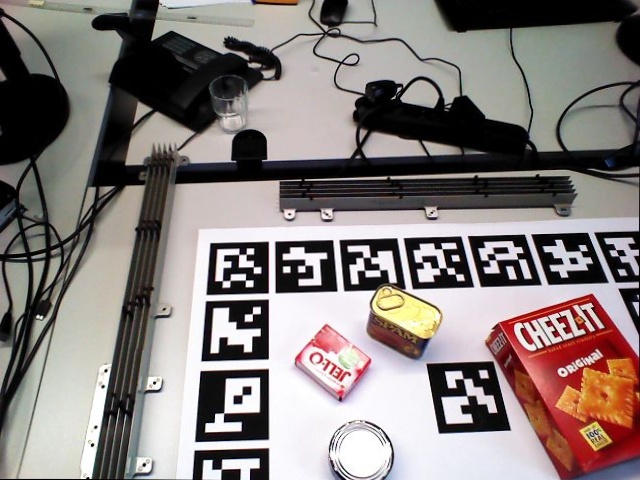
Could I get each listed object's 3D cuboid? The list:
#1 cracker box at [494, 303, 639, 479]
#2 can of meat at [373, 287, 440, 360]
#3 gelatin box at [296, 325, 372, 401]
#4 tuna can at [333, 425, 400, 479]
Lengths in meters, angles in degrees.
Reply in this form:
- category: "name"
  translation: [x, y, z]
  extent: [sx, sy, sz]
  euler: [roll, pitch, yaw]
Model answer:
- category: "cracker box"
  translation: [0.378, 0.209, 0.727]
  extent: [0.164, 0.072, 0.213]
  euler: [-14, 54, -12]
- category: "can of meat"
  translation: [0.131, 0.128, 0.780]
  extent: [0.102, 0.084, 0.057]
  euler: [23, 57, 17]
- category: "gelatin box"
  translation: [0.020, 0.180, 0.766]
  extent: [0.089, 0.030, 0.073]
  euler: [35, 58, 20]
- category: "tuna can"
  translation: [0.059, 0.291, 0.680]
  extent: [0.086, 0.034, 0.085]
  euler: [-1, 57, 0]
